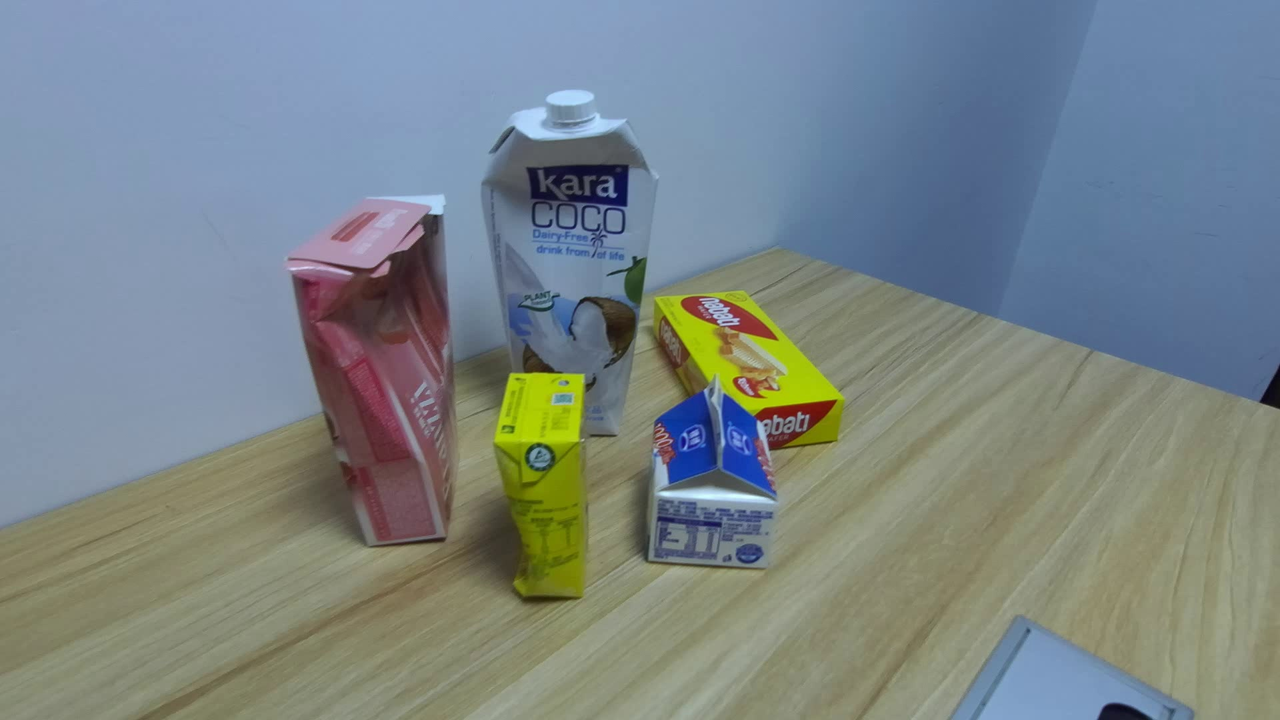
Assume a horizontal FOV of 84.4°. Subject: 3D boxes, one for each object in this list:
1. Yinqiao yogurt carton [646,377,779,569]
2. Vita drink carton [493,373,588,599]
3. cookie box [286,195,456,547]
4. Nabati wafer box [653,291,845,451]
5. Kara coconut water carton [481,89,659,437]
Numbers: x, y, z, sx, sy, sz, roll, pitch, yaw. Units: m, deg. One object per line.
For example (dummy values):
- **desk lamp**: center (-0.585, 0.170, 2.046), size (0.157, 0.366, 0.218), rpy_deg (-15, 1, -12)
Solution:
- **Yinqiao yogurt carton**: center (0.043, 0.064, 0.419), size (0.074, 0.092, 0.075), rpy_deg (3, 30, 1)
- **Vita drink carton**: center (-0.051, 0.071, 0.384), size (0.043, 0.109, 0.076), rpy_deg (0, 29, -2)
- **cookie box**: center (-0.139, 0.010, 0.408), size (0.055, 0.184, 0.118), rpy_deg (1, 29, -2)
- **Nabati wafer box**: center (0.081, 0.001, 0.590), size (0.093, 0.042, 0.202), rpy_deg (-4, 30, -14)
- **Kara coconut water carton**: center (-0.048, -0.059, 0.486), size (0.115, 0.238, 0.069), rpy_deg (1, 32, -3)
